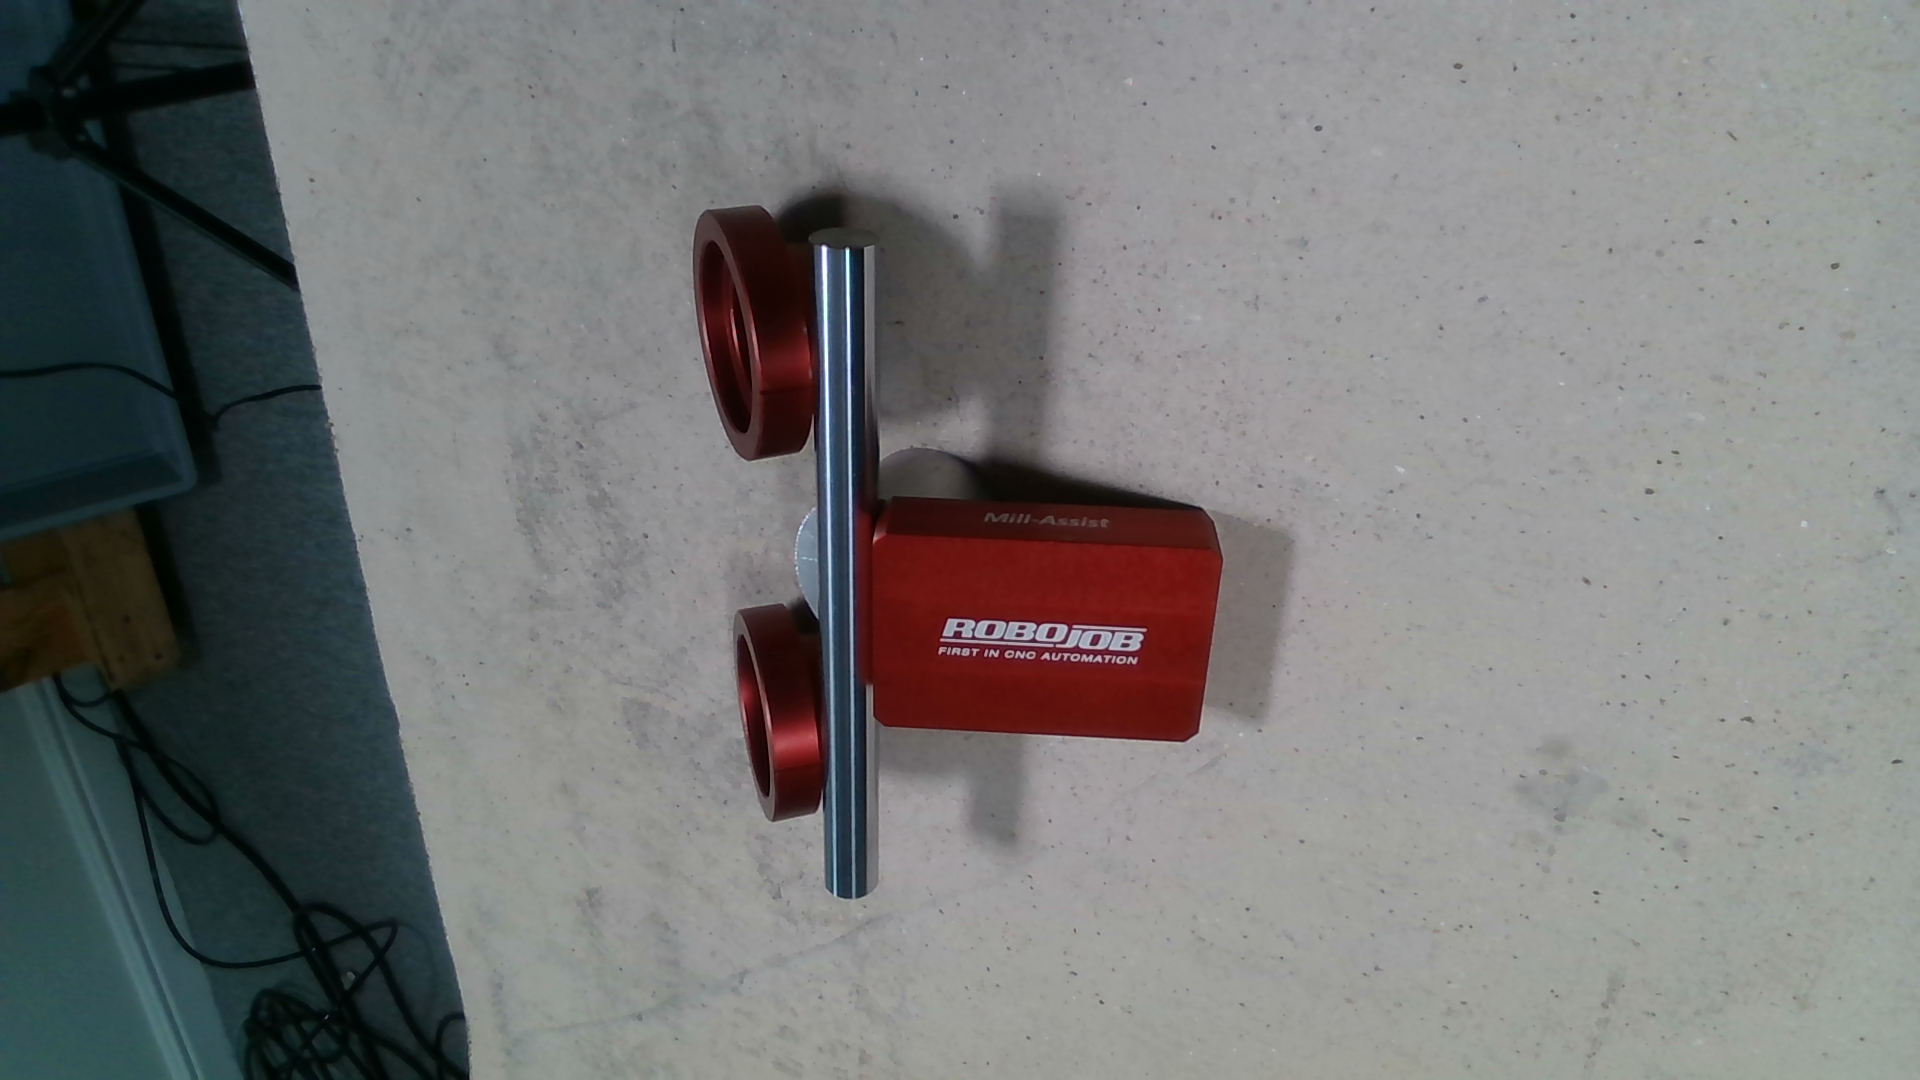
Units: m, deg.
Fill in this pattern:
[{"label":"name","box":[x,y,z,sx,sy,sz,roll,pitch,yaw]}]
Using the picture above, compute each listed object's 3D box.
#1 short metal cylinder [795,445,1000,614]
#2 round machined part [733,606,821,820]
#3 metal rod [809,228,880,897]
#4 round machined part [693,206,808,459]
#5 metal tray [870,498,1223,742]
[{"label":"short metal cylinder","box":[-0.022,0.006,0.582,0.080,0.050,0.080,14,122,25]},{"label":"round machined part","box":[-0.076,0.078,0.636,0.098,0.042,0.098,170,91,-73]},{"label":"metal rod","box":[-0.045,0.025,0.558,0.025,0.025,0.301,16,123,24]},{"label":"round machined part","box":[-0.074,-0.083,0.548,0.098,0.042,0.098,167,91,-70]},{"label":"metal tray","box":[0.031,0.032,0.540,0.130,0.030,0.090,2,120,1]}]
